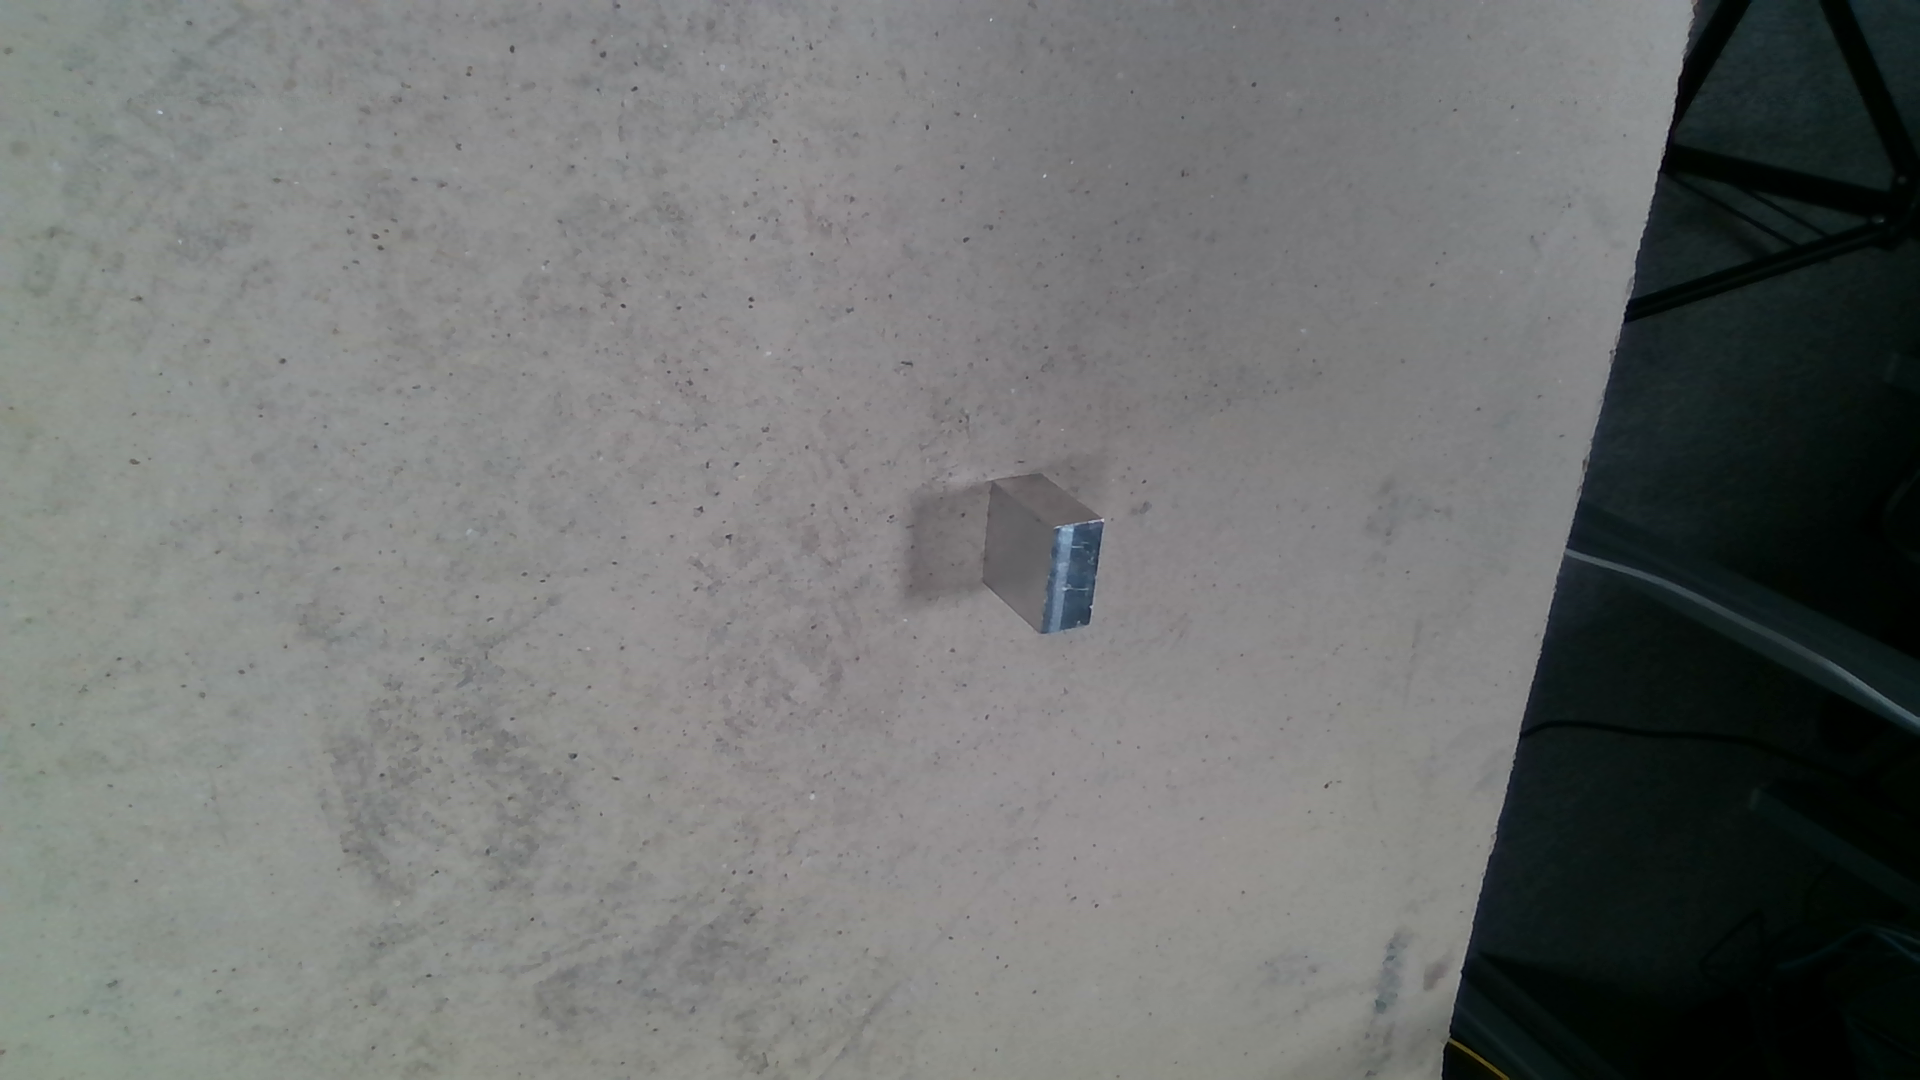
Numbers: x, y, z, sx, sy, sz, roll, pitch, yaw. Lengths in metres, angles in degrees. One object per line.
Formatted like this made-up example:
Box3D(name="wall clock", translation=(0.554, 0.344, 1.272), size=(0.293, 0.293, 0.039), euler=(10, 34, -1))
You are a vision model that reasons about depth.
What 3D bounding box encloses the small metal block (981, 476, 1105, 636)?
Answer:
Box3D(name="small metal block", translation=(0.034, 0.006, 0.588), size=(0.025, 0.050, 0.050), euler=(-9, 119, -27))
